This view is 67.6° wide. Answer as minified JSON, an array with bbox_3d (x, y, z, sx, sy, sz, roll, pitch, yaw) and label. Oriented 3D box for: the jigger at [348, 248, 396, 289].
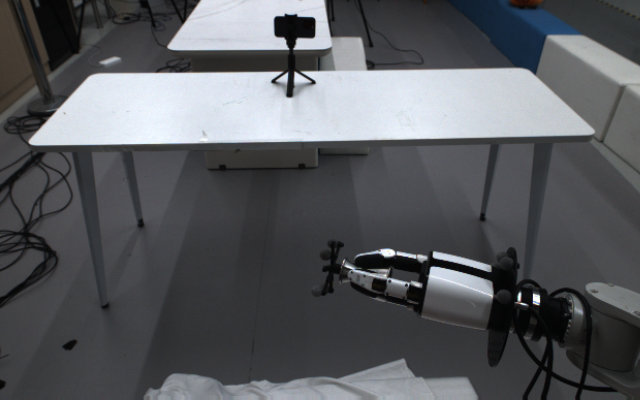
[{"bbox_3d":[0.072,0.104,0.689,0.071,0.043,0.043,10,35,16],"label":"jigger"}]
